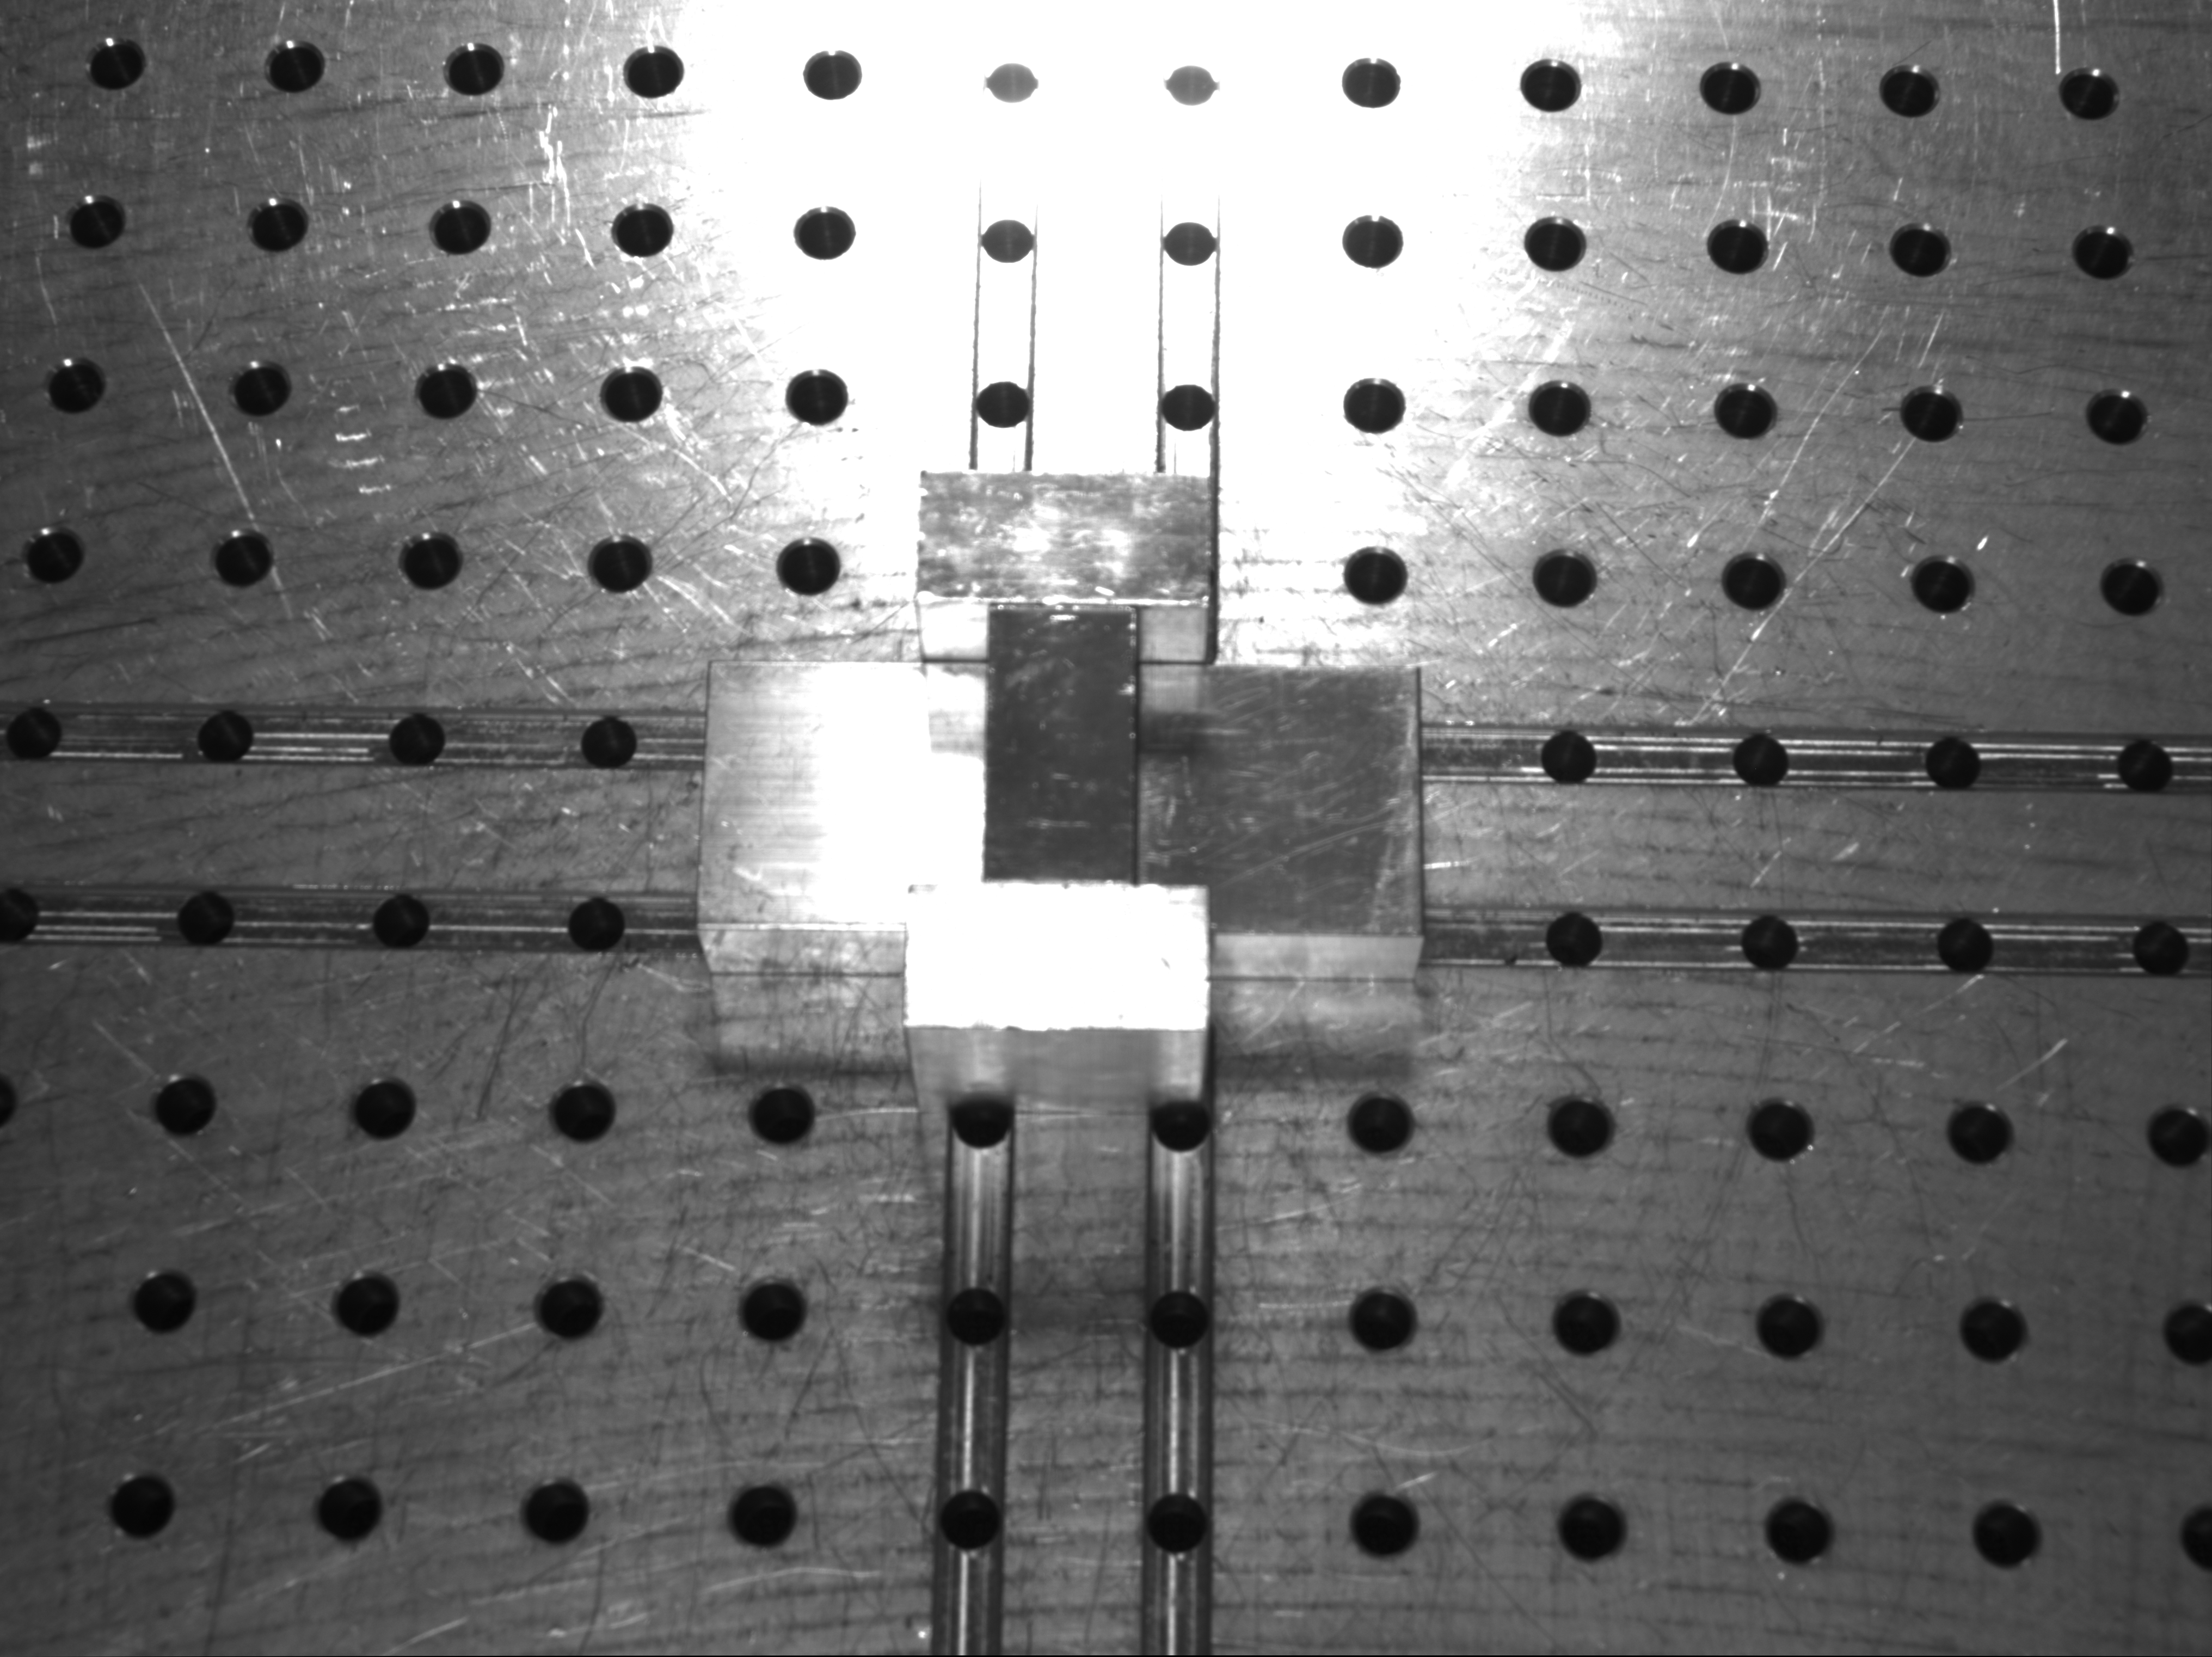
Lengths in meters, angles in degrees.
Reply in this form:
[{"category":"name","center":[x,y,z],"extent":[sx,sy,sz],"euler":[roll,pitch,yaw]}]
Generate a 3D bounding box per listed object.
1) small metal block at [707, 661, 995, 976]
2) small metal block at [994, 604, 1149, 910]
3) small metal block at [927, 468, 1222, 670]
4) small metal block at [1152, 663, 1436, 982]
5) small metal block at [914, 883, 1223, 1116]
[{"category":"small metal block","center":[-0.043,-0.001,0.647],"extent":[0.050,0.025,0.050],"euler":[1,70,0]},{"category":"small metal block","center":[-0.006,-0.006,0.636],"extent":[0.025,0.050,0.050],"euler":[1,70,0]},{"category":"small metal block","center":[-0.005,-0.041,0.649],"extent":[0.050,0.050,0.025],"euler":[1,70,0]},{"category":"small metal block","center":[0.032,-0.001,0.647],"extent":[0.050,0.025,0.050],"euler":[1,70,0]},{"category":"small metal block","center":[-0.006,0.030,0.623],"extent":[0.050,0.050,0.025],"euler":[1,70,0]}]
